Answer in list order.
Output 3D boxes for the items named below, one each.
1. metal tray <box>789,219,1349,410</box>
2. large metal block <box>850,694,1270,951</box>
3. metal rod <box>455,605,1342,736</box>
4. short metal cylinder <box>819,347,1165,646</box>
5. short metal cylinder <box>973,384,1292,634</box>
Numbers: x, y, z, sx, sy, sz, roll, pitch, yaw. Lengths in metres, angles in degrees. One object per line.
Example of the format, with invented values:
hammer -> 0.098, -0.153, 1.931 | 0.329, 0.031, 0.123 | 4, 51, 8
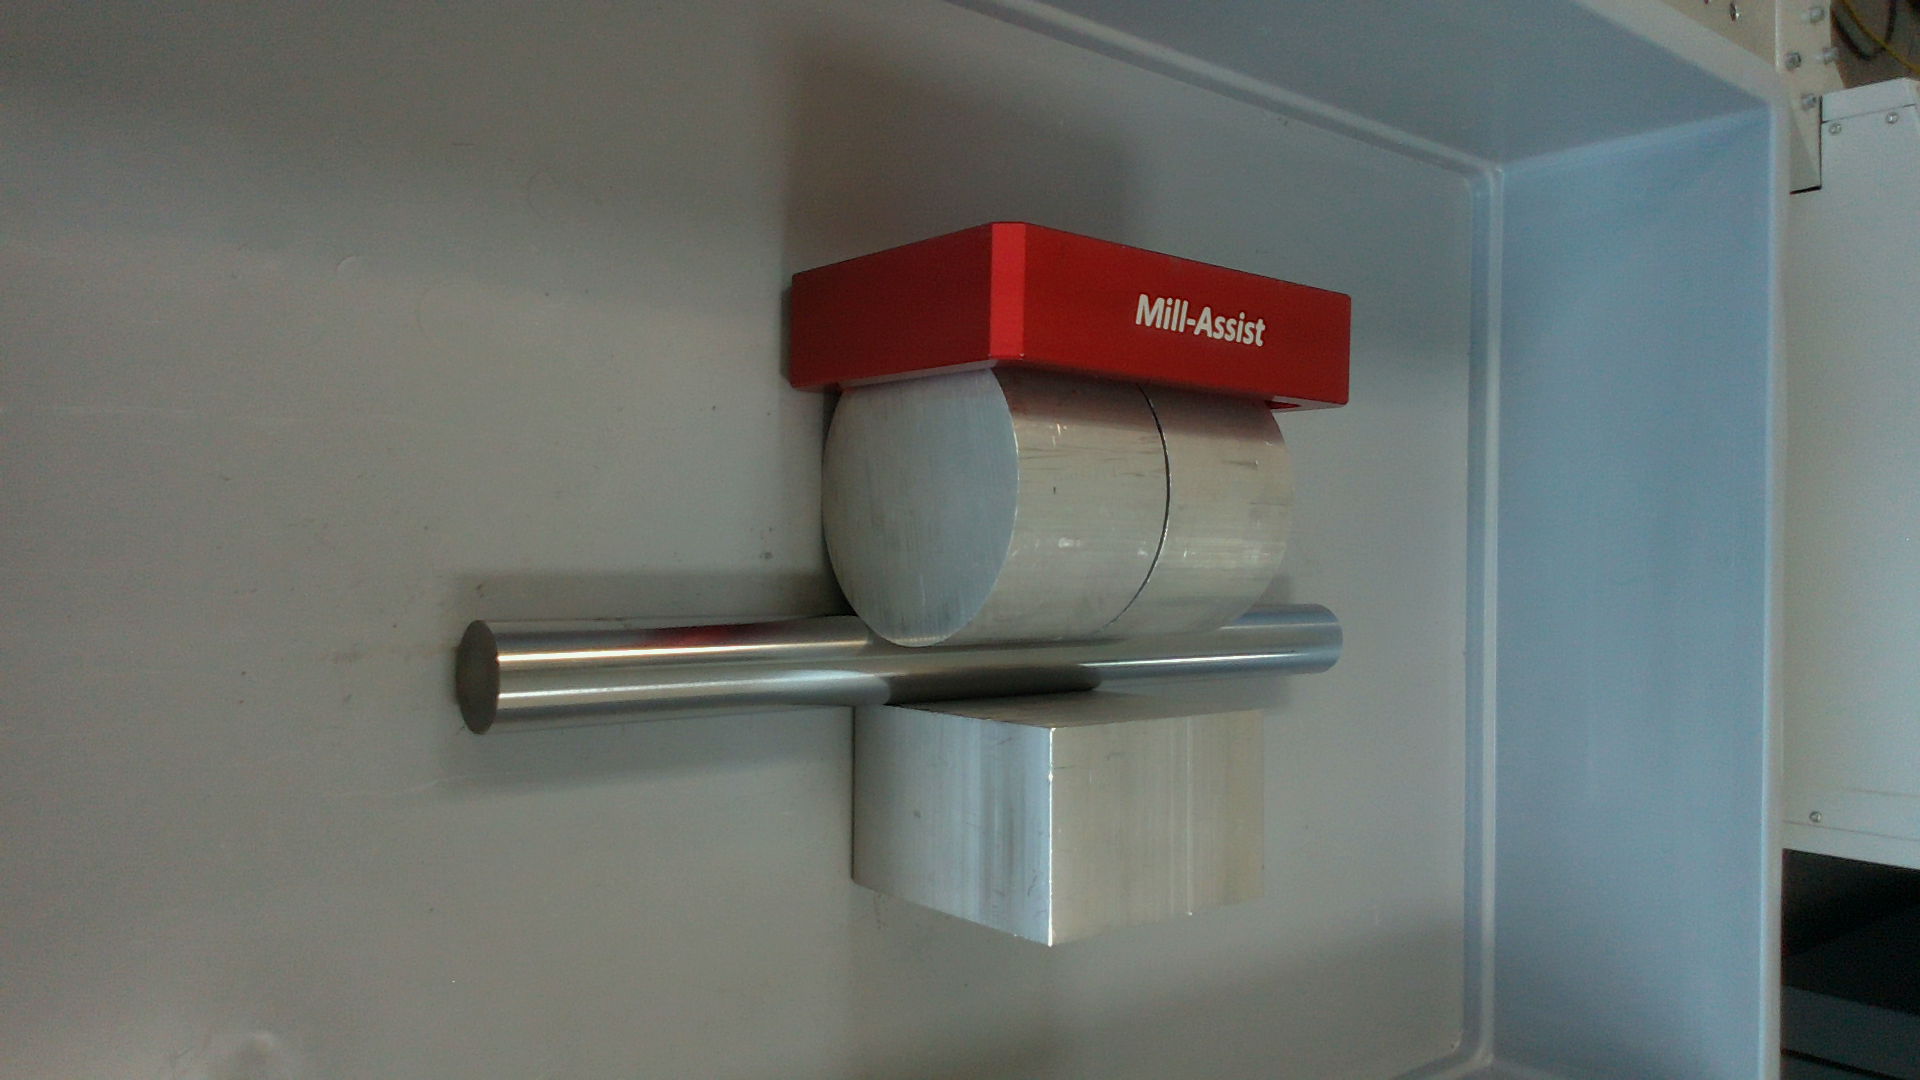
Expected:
metal tray -> 0.031, -0.054, 0.371 | 0.131, 0.090, 0.030 | 2, 89, -40
large metal block -> 0.026, 0.070, 0.373 | 0.080, 0.080, 0.050 | 1, 89, -40
metal rod -> 0.010, 0.032, 0.395 | 0.301, 0.025, 0.025 | 1, 89, -40
short metal cylinder -> 0.006, -0.013, 0.358 | 0.050, 0.080, 0.080 | 1, 90, -40
short metal cylinder -> 0.046, -0.013, 0.391 | 0.050, 0.080, 0.080 | 2, 89, -40
